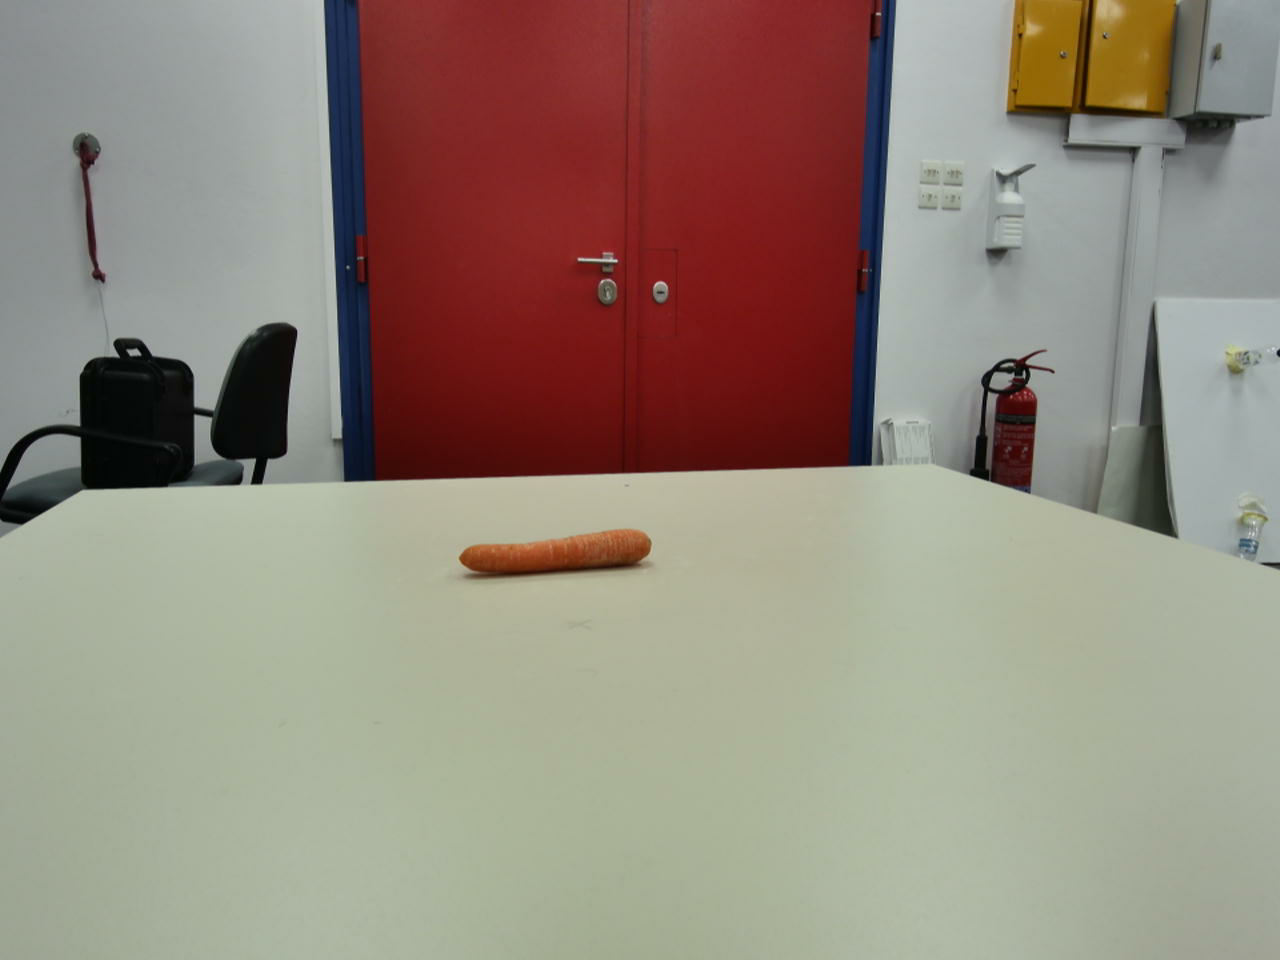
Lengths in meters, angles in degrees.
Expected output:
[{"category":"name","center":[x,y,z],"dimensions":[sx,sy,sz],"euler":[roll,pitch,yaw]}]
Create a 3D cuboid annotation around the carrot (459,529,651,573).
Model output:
[{"category":"carrot","center":[-0.052,0.045,0.632],"dimensions":[0.122,0.023,0.024],"euler":[-2,8,-15]}]
